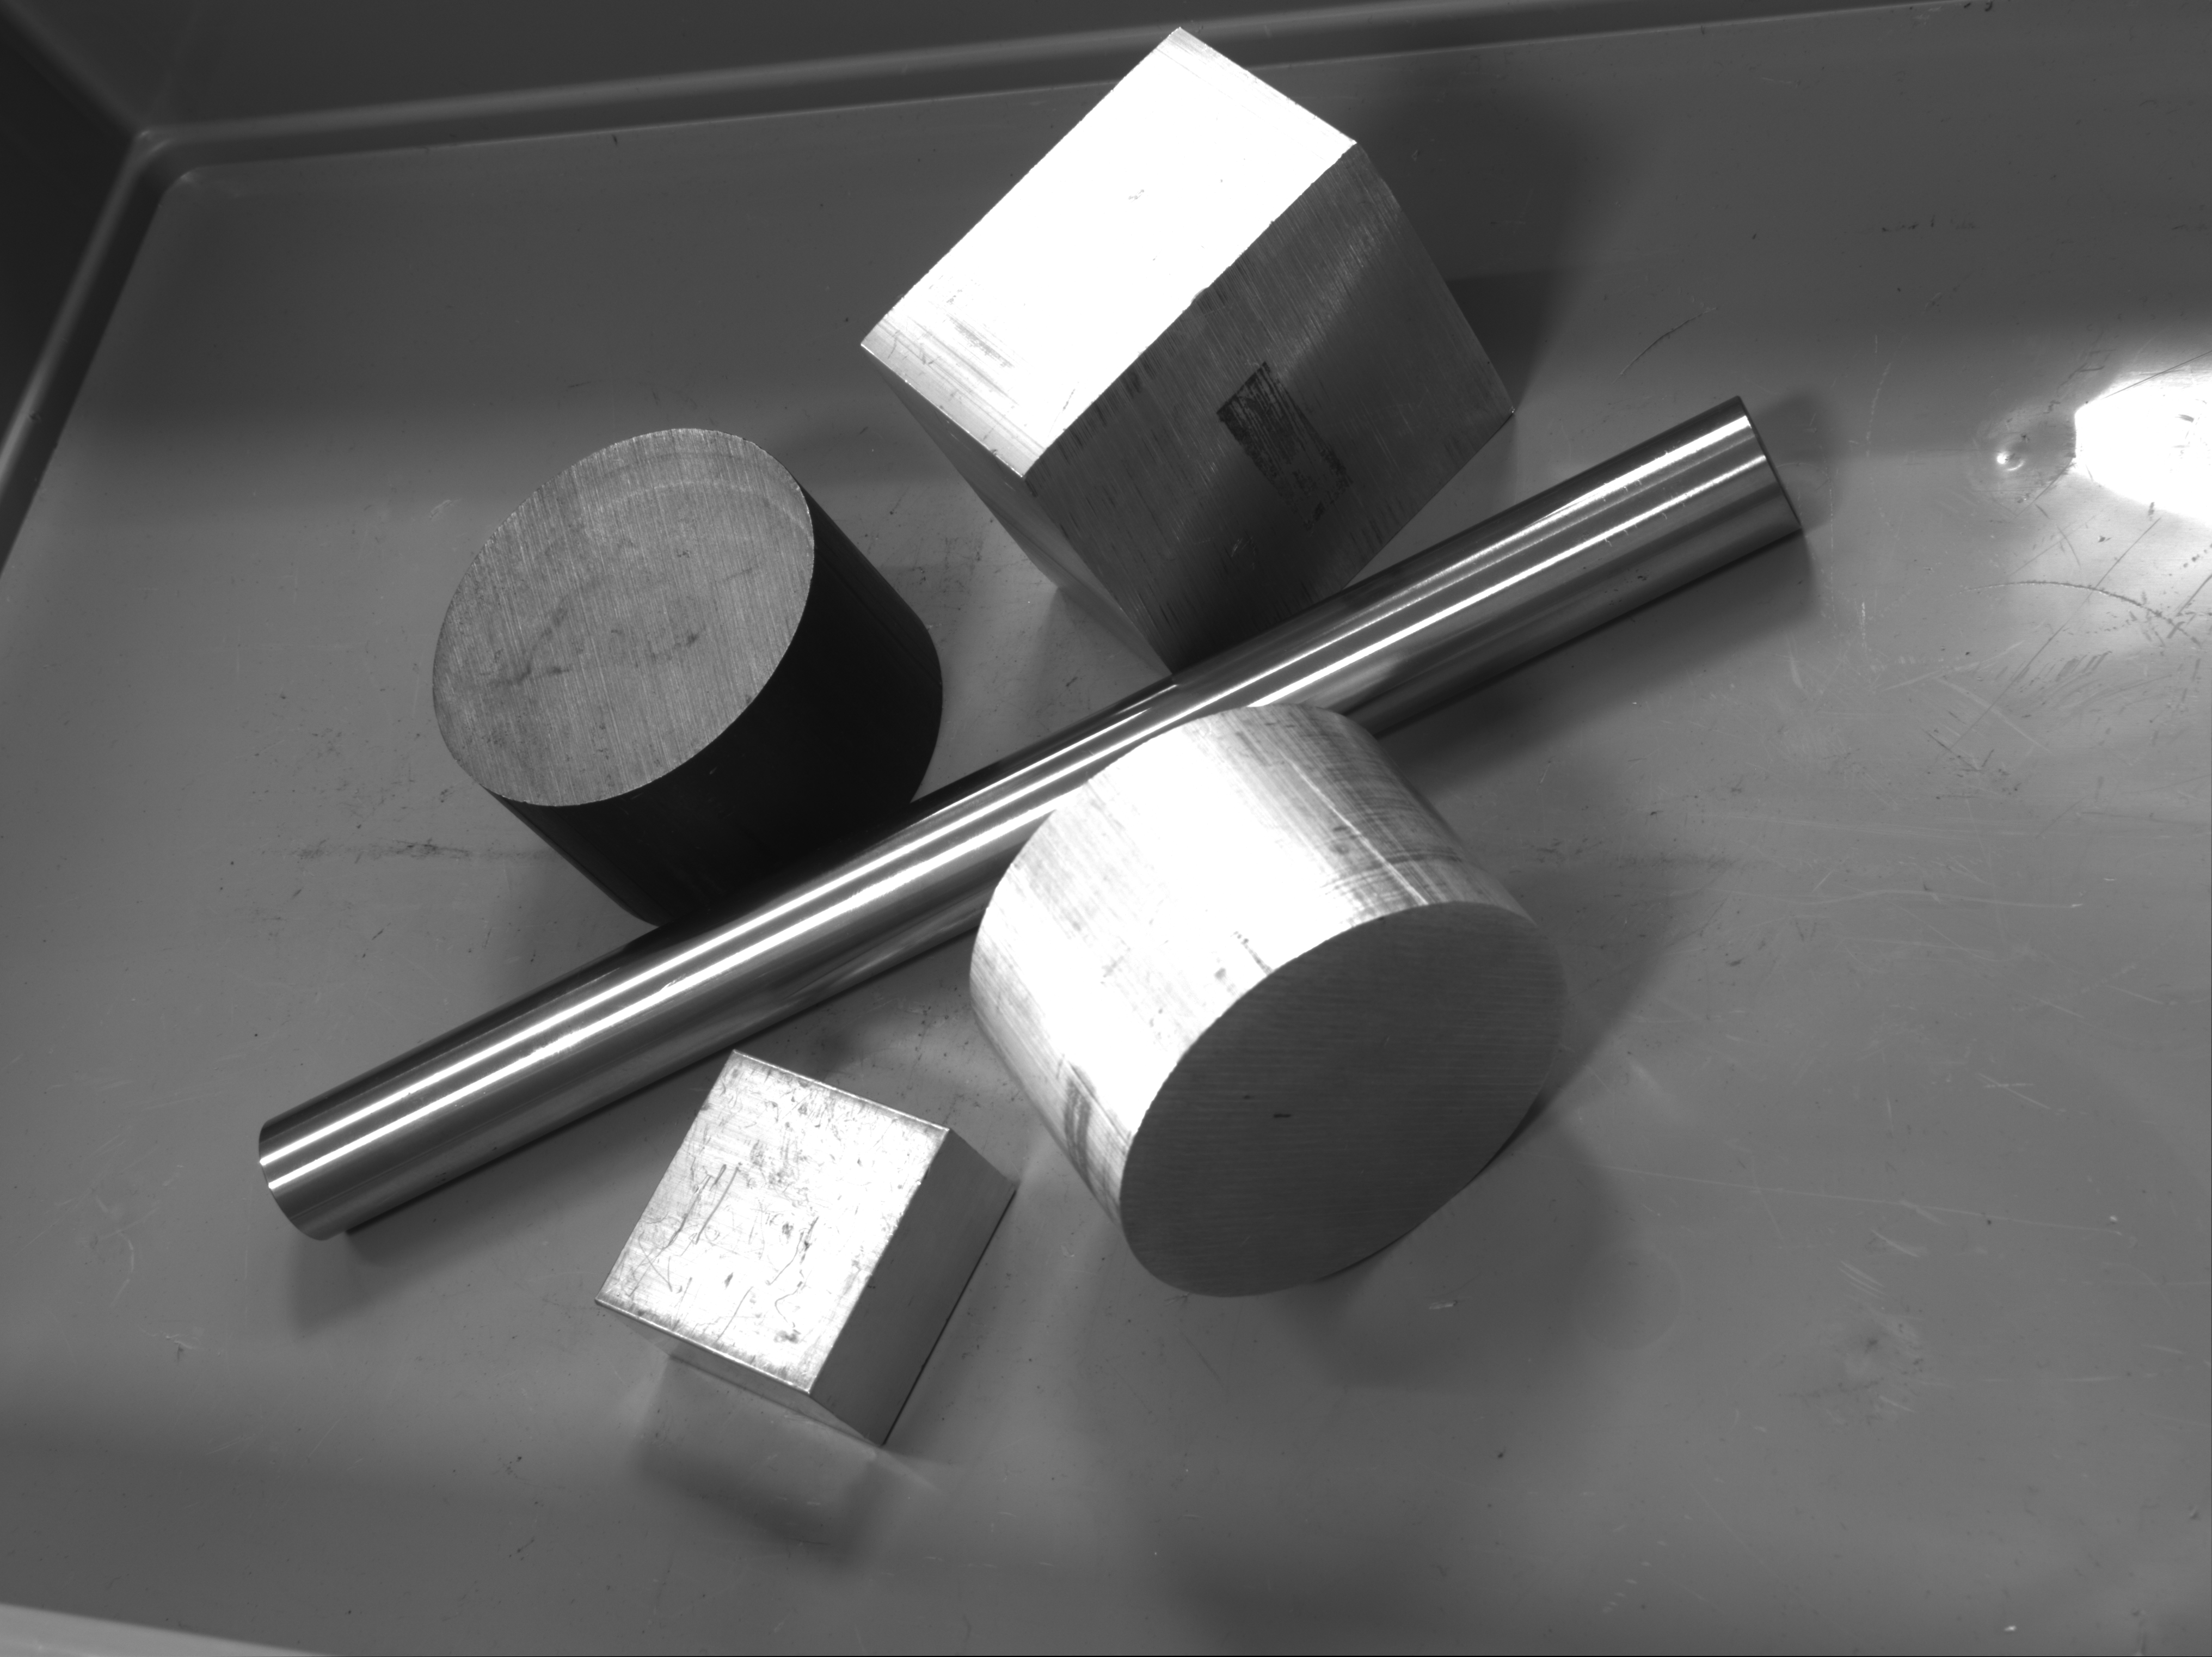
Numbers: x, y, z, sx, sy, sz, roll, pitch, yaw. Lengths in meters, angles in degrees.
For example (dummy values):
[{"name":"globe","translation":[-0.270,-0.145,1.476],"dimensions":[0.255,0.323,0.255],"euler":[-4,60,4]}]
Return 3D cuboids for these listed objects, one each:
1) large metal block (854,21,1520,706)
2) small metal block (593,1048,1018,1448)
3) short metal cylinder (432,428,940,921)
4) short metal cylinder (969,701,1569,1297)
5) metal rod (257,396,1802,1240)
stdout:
[{"name":"large metal block","translation":[0.016,-0.079,0.649],"dimensions":[0.080,0.080,0.050],"euler":[-45,51,-3]},{"name":"small metal block","translation":[-0.051,0.071,0.628],"dimensions":[0.050,0.025,0.050],"euler":[16,70,35]},{"name":"short metal cylinder","translation":[-0.078,-0.028,0.687],"dimensions":[0.080,0.050,0.080],"euler":[-14,56,21]},{"name":"short metal cylinder","translation":[0.025,0.027,0.578],"dimensions":[0.080,0.080,0.050],"euler":[-40,51,1]},{"name":"metal rod","translation":[-0.019,0.002,0.654],"dimensions":[0.300,0.025,0.025],"euler":[-26,52,12]}]
